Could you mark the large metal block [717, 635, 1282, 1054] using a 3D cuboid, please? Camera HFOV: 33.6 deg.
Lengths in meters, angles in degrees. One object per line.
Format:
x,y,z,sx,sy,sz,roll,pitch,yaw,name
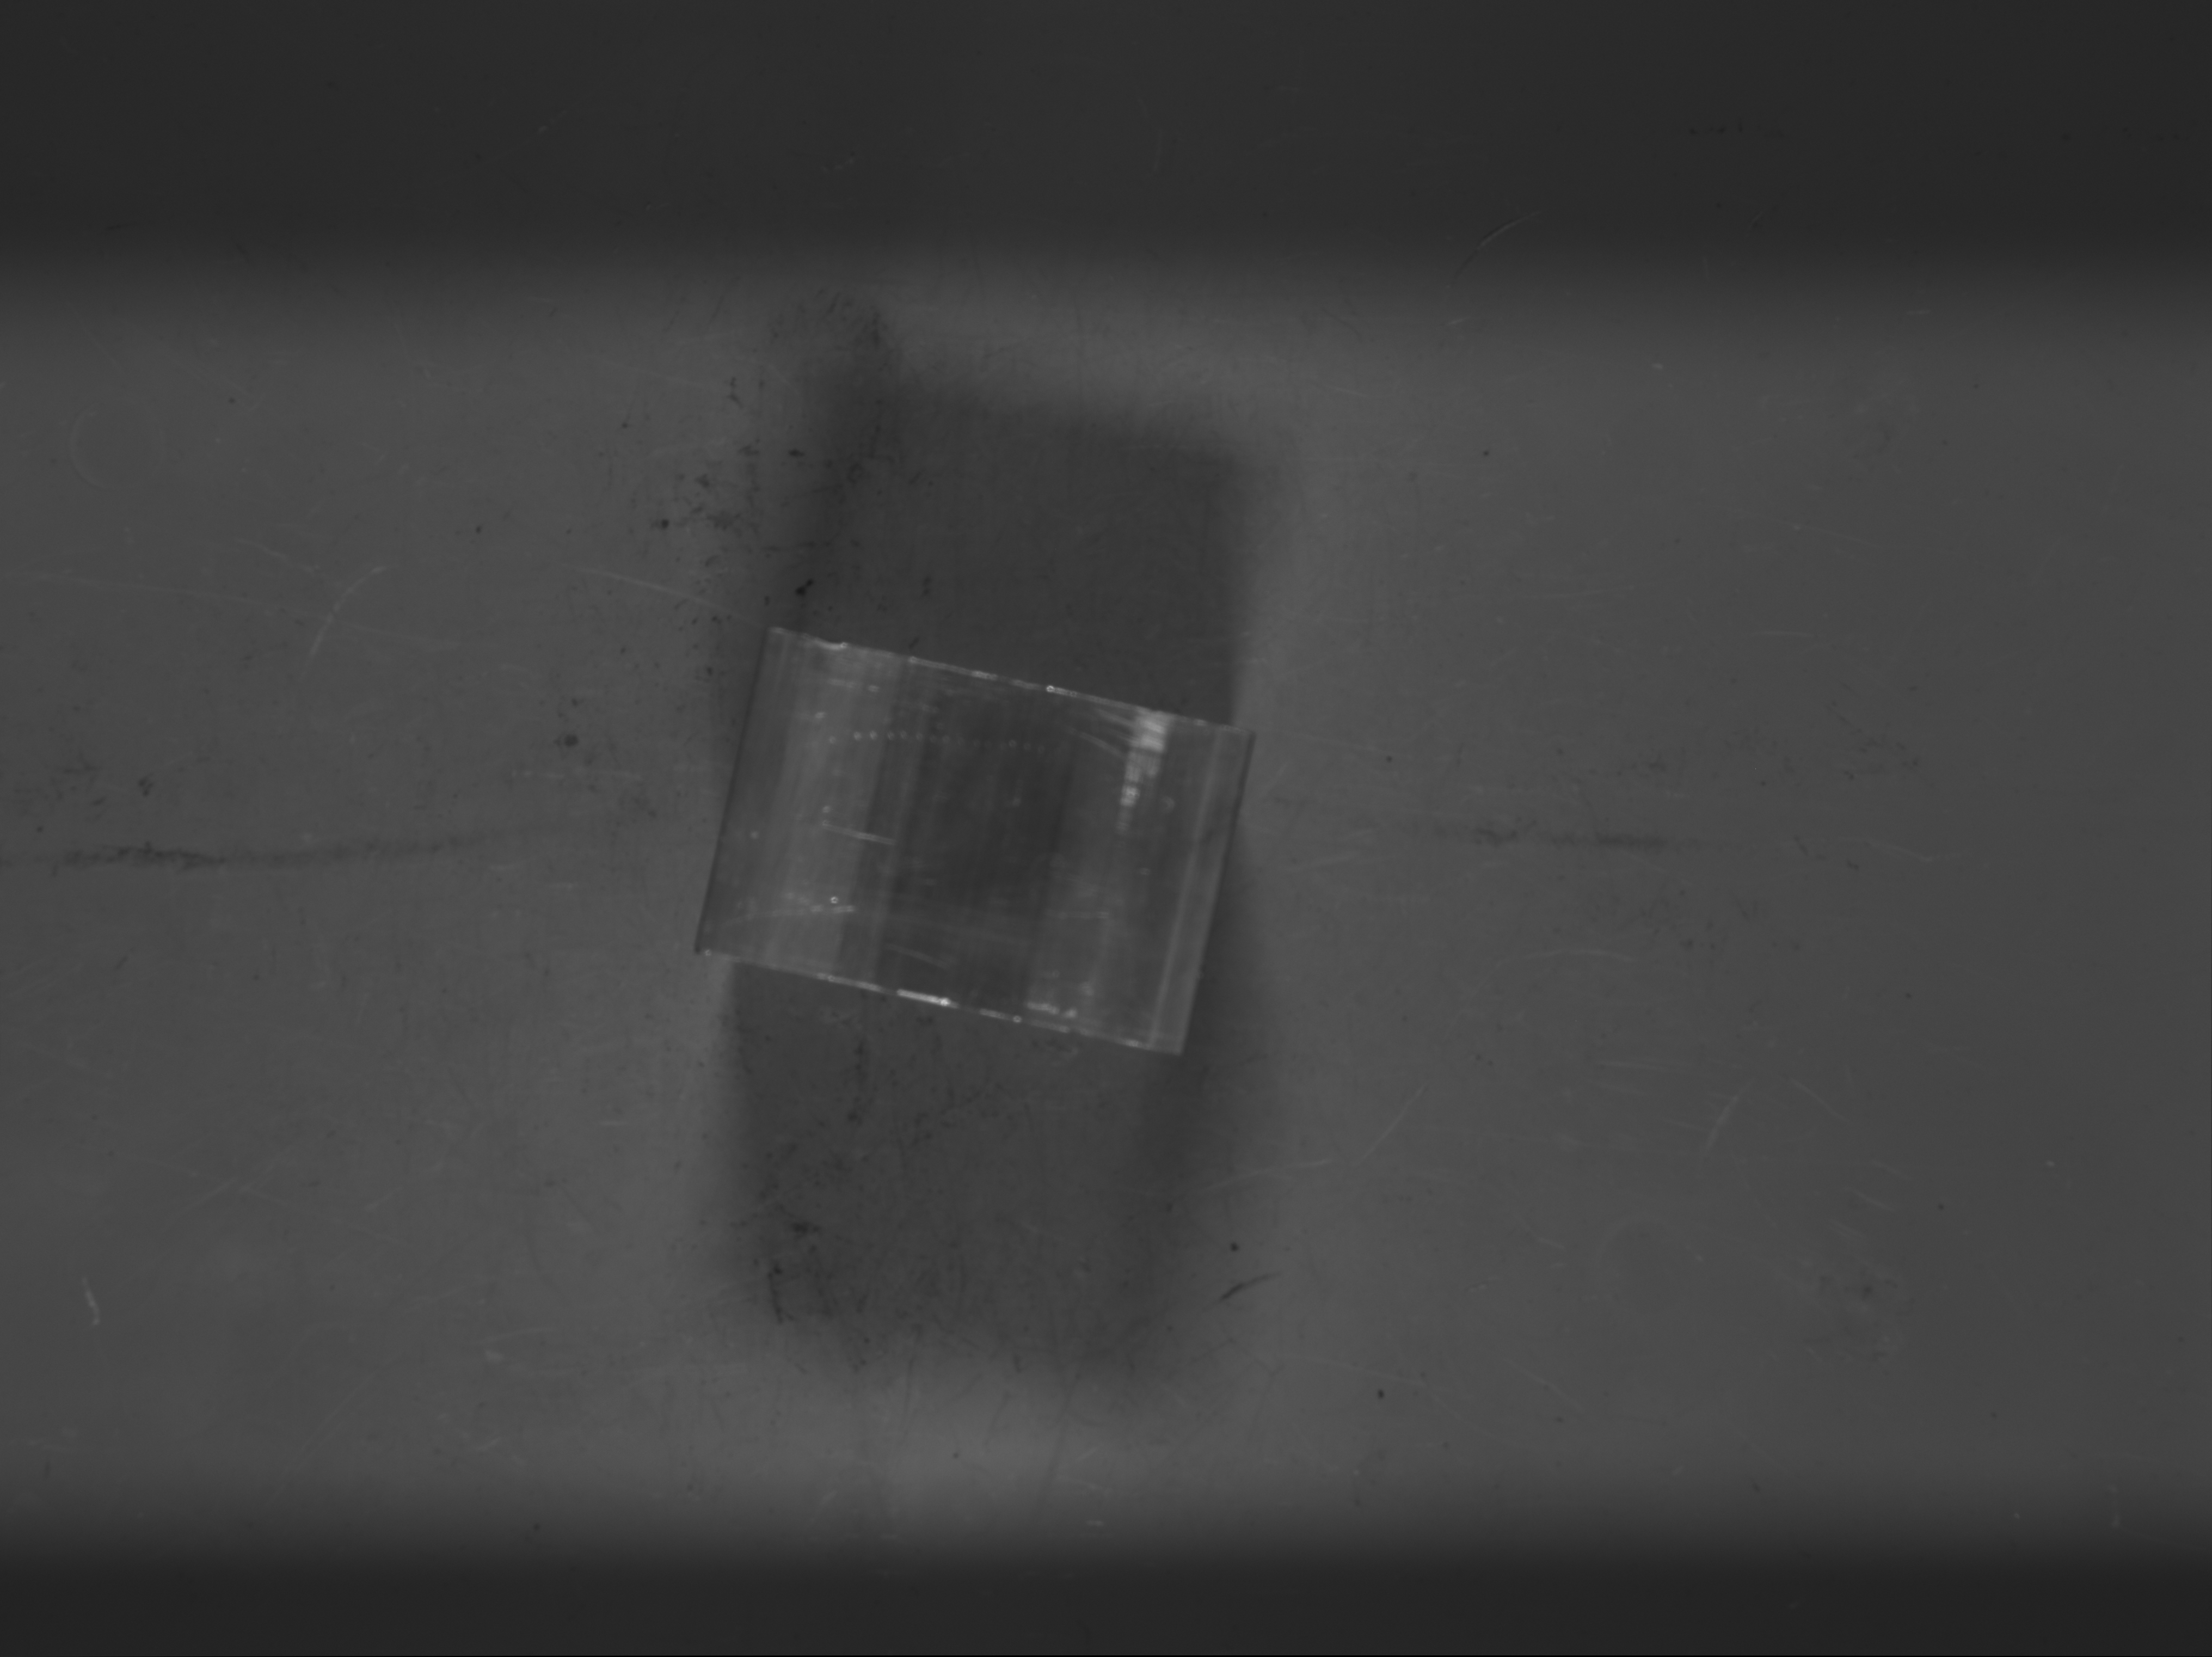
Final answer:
-0.017,0.003,0.615,0.080,0.080,0.050,12,90,0,large metal block
